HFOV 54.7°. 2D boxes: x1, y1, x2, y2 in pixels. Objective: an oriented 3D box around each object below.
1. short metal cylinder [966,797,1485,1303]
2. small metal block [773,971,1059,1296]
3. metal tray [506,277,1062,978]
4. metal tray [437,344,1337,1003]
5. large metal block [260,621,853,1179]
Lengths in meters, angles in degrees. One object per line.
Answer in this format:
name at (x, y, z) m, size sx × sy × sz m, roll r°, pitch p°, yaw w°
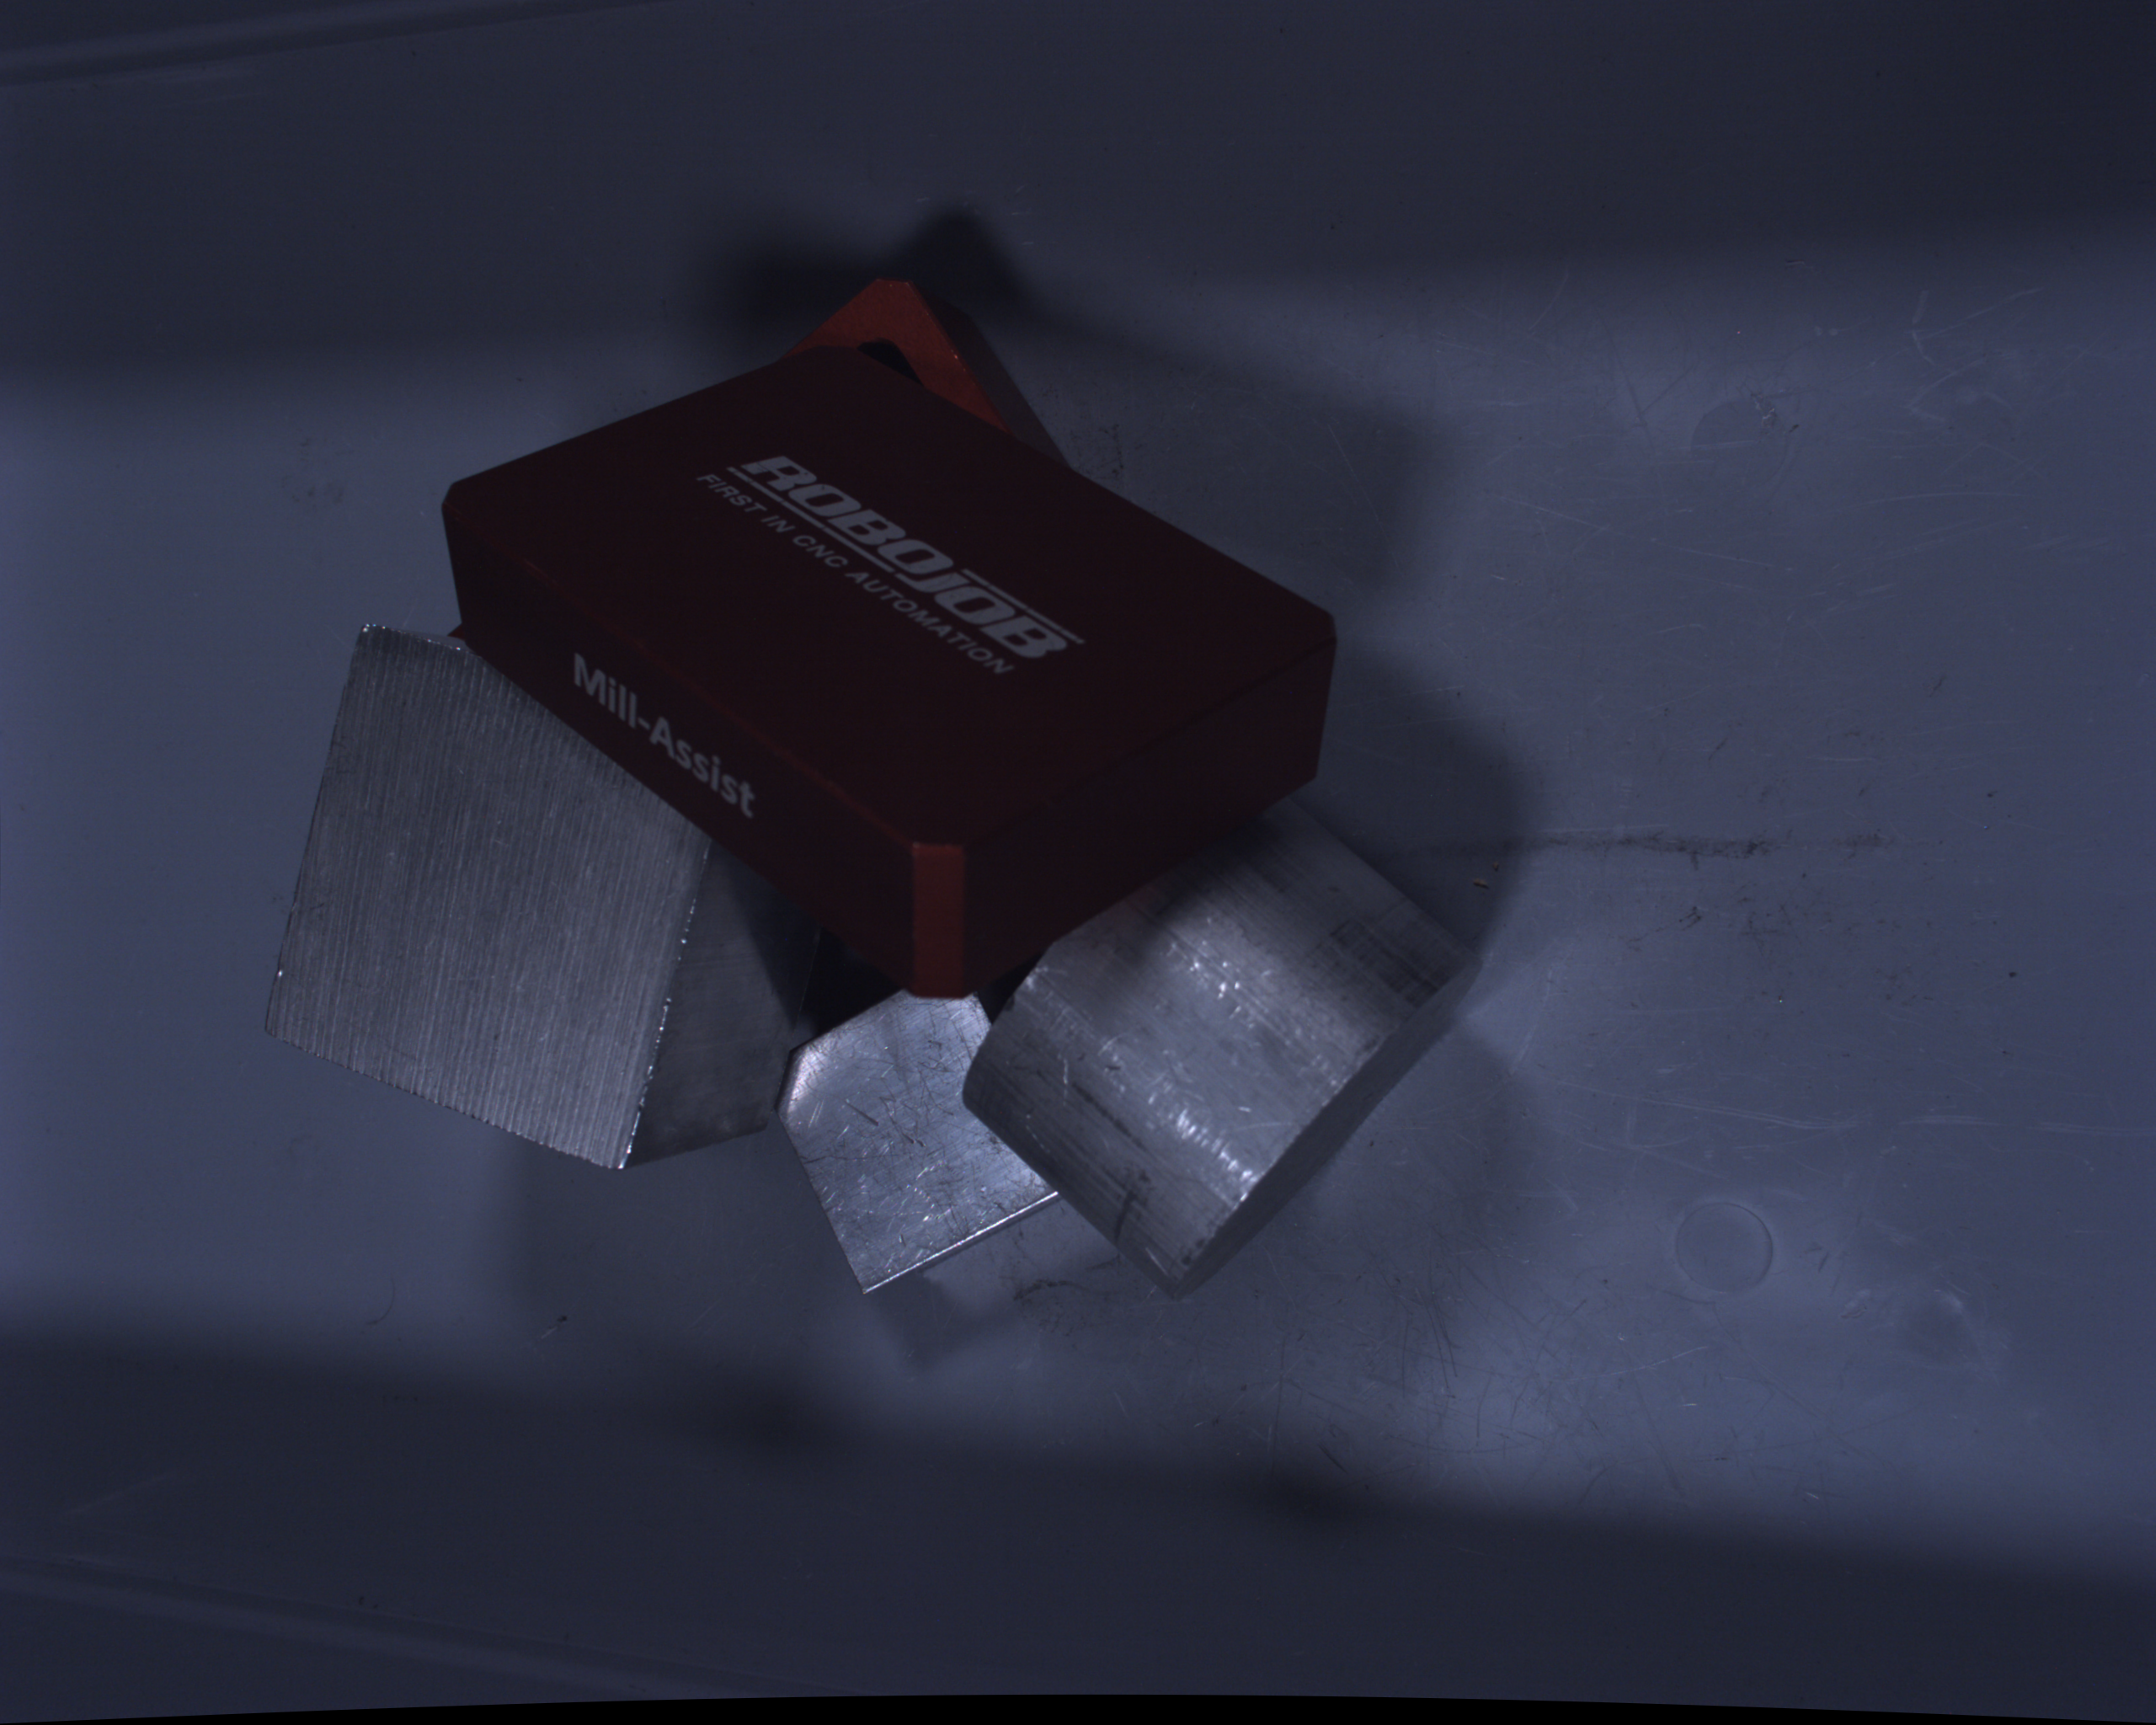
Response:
short metal cylinder at (0.026, 0.031, 0.370) m, size 0.050 × 0.080 × 0.080 m, roll 41°, pitch 103°, yaw 15°
small metal block at (-0.028, 0.051, 0.418) m, size 0.050 × 0.025 × 0.050 m, roll -30°, pitch 80°, yaw 17°
metal tray at (-0.057, -0.043, 0.425) m, size 0.130 × 0.030 × 0.090 m, roll -35°, pitch 79°, yaw 16°
metal tray at (-0.034, -0.039, 0.354) m, size 0.130 × 0.091 × 0.030 m, roll 35°, pitch 140°, yaw 31°
large metal block at (-0.096, 0.005, 0.394) m, size 0.080 × 0.050 × 0.080 m, roll 17°, pitch 96°, yaw 18°
